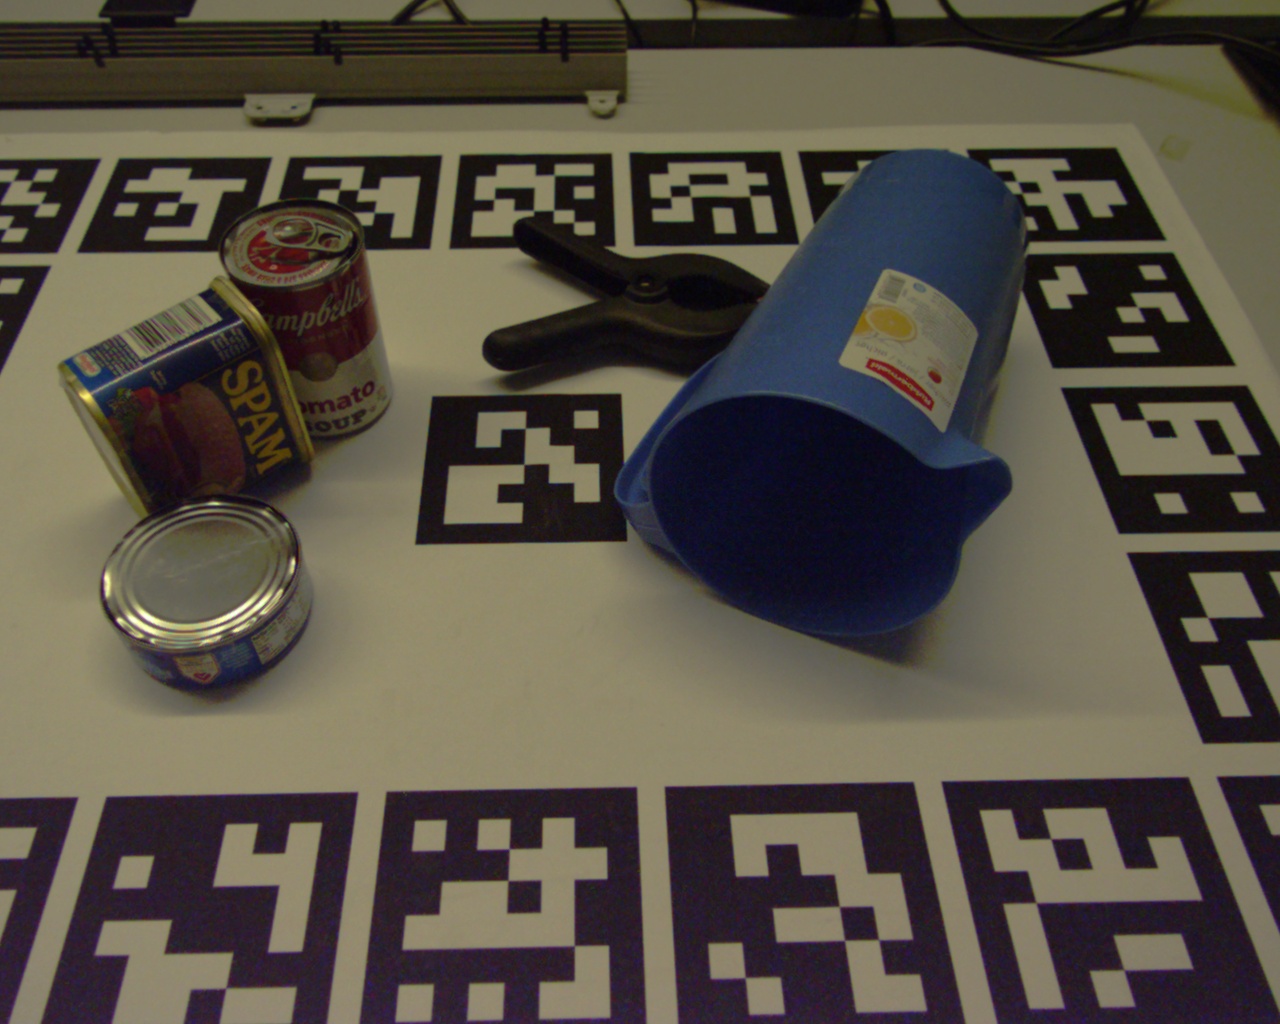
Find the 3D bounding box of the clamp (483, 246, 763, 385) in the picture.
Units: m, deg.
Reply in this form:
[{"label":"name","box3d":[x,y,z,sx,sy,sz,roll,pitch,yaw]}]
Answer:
[{"label":"clamp","box3d":[-0.009,-0.118,0.696,0.165,0.036,0.122,3,47,-3]}]

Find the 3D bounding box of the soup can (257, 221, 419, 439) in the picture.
[{"label":"soup can","box3d":[-0.162,-0.097,0.625,0.068,0.101,0.068,-1,53,1]}]

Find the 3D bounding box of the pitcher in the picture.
[{"label":"pitcher","box3d":[0.109,-0.071,0.581,0.191,0.132,0.241,1,40,28]}]

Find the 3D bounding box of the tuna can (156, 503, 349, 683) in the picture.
[{"label":"tuna can","box3d":[-0.186,0.039,0.554,0.086,0.033,0.086,0,52,-1]}]

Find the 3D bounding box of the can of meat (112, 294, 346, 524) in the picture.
[{"label":"can of meat","box3d":[-0.206,-0.047,0.577,0.083,0.101,0.058,-32,60,-20]}]
